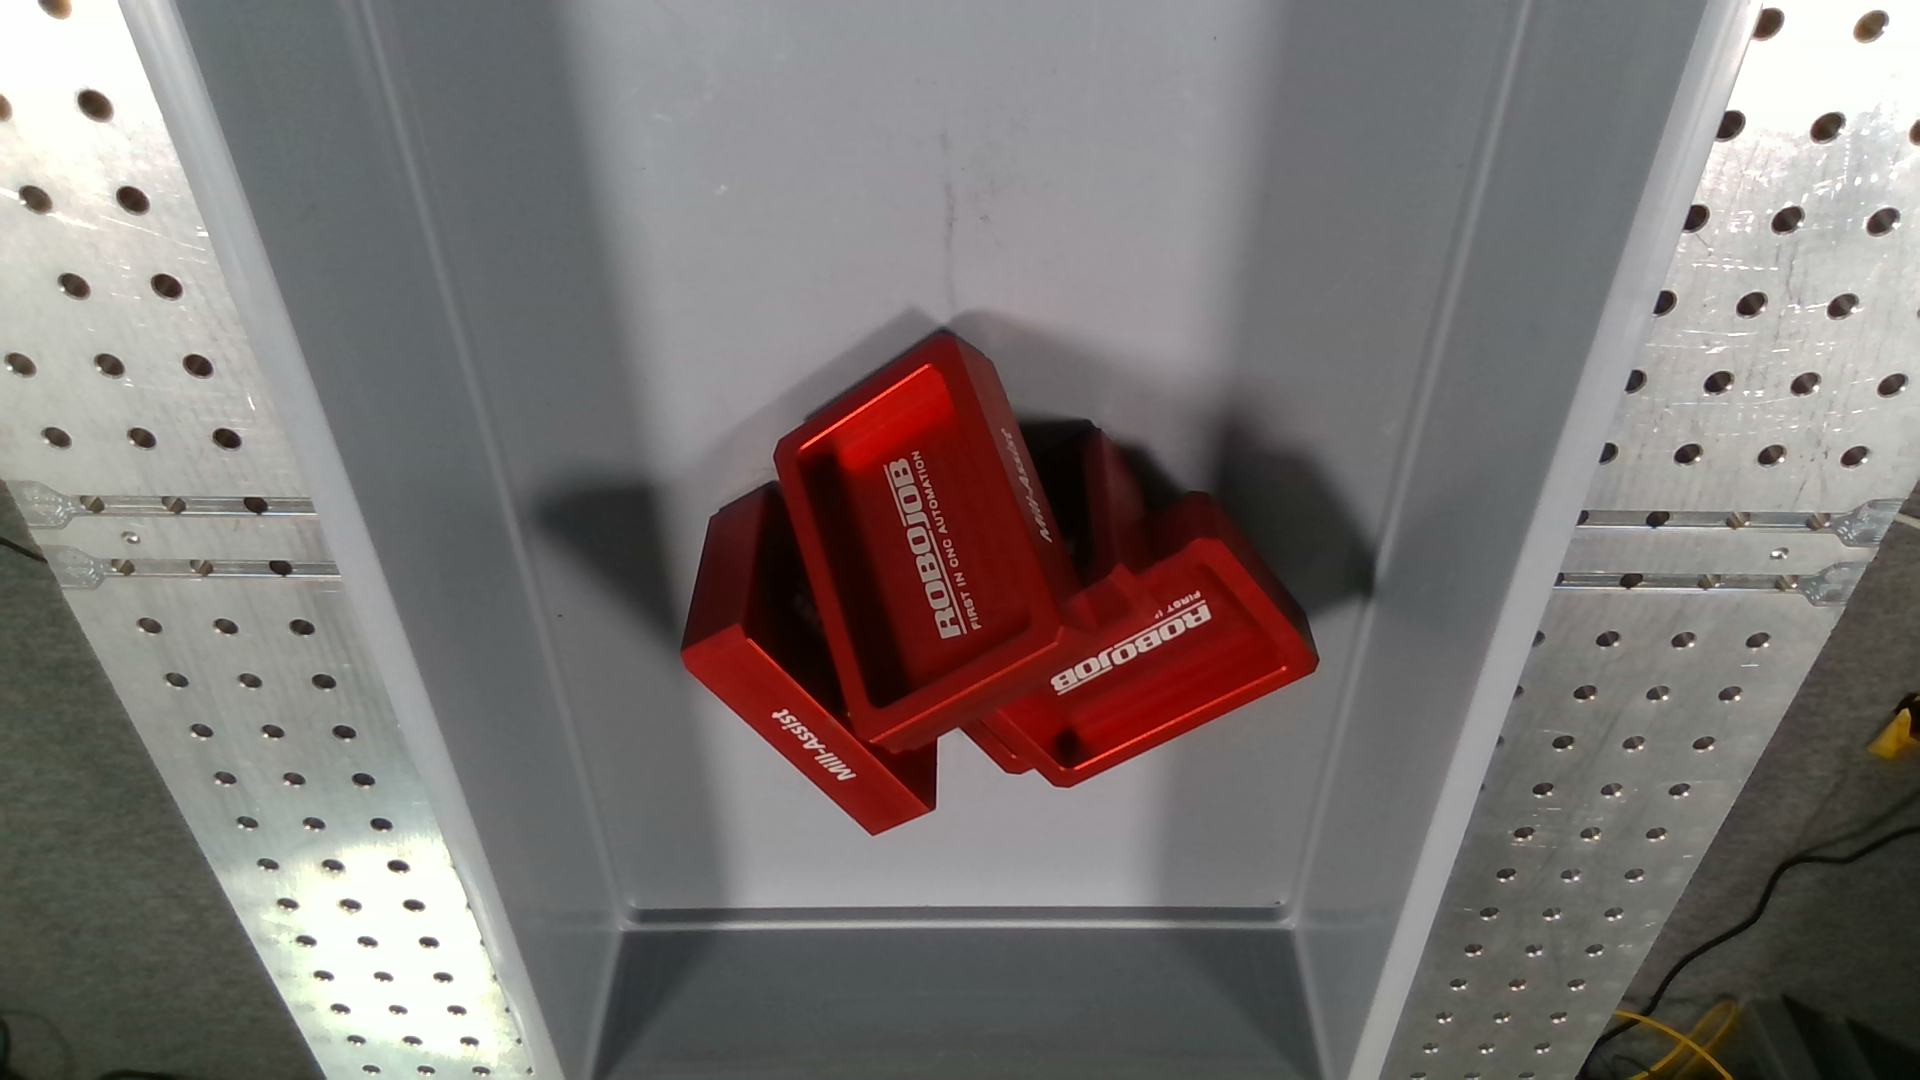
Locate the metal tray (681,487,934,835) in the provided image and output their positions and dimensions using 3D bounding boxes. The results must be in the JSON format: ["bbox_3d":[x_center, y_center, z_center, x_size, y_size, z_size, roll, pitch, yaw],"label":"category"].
[{"bbox_3d":[-0.058,0.051,0.578,0.030,0.090,0.130,-26,125,20],"label":"metal tray"}]

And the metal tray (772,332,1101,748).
[{"bbox_3d":[-0.012,0.000,0.511,0.090,0.130,0.030,-30,154,23],"label":"metal tray"}]

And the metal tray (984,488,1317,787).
[{"bbox_3d":[0.069,0.044,0.572,0.130,0.030,0.090,-30,124,22],"label":"metal tray"}]

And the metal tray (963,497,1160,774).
[{"bbox_3d":[0.053,0.046,0.614,0.130,0.030,0.090,-28,123,20],"label":"metal tray"}]

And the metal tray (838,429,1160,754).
[{"bbox_3d":[0.013,0.020,0.551,0.130,0.090,0.030,-30,124,23],"label":"metal tray"}]
